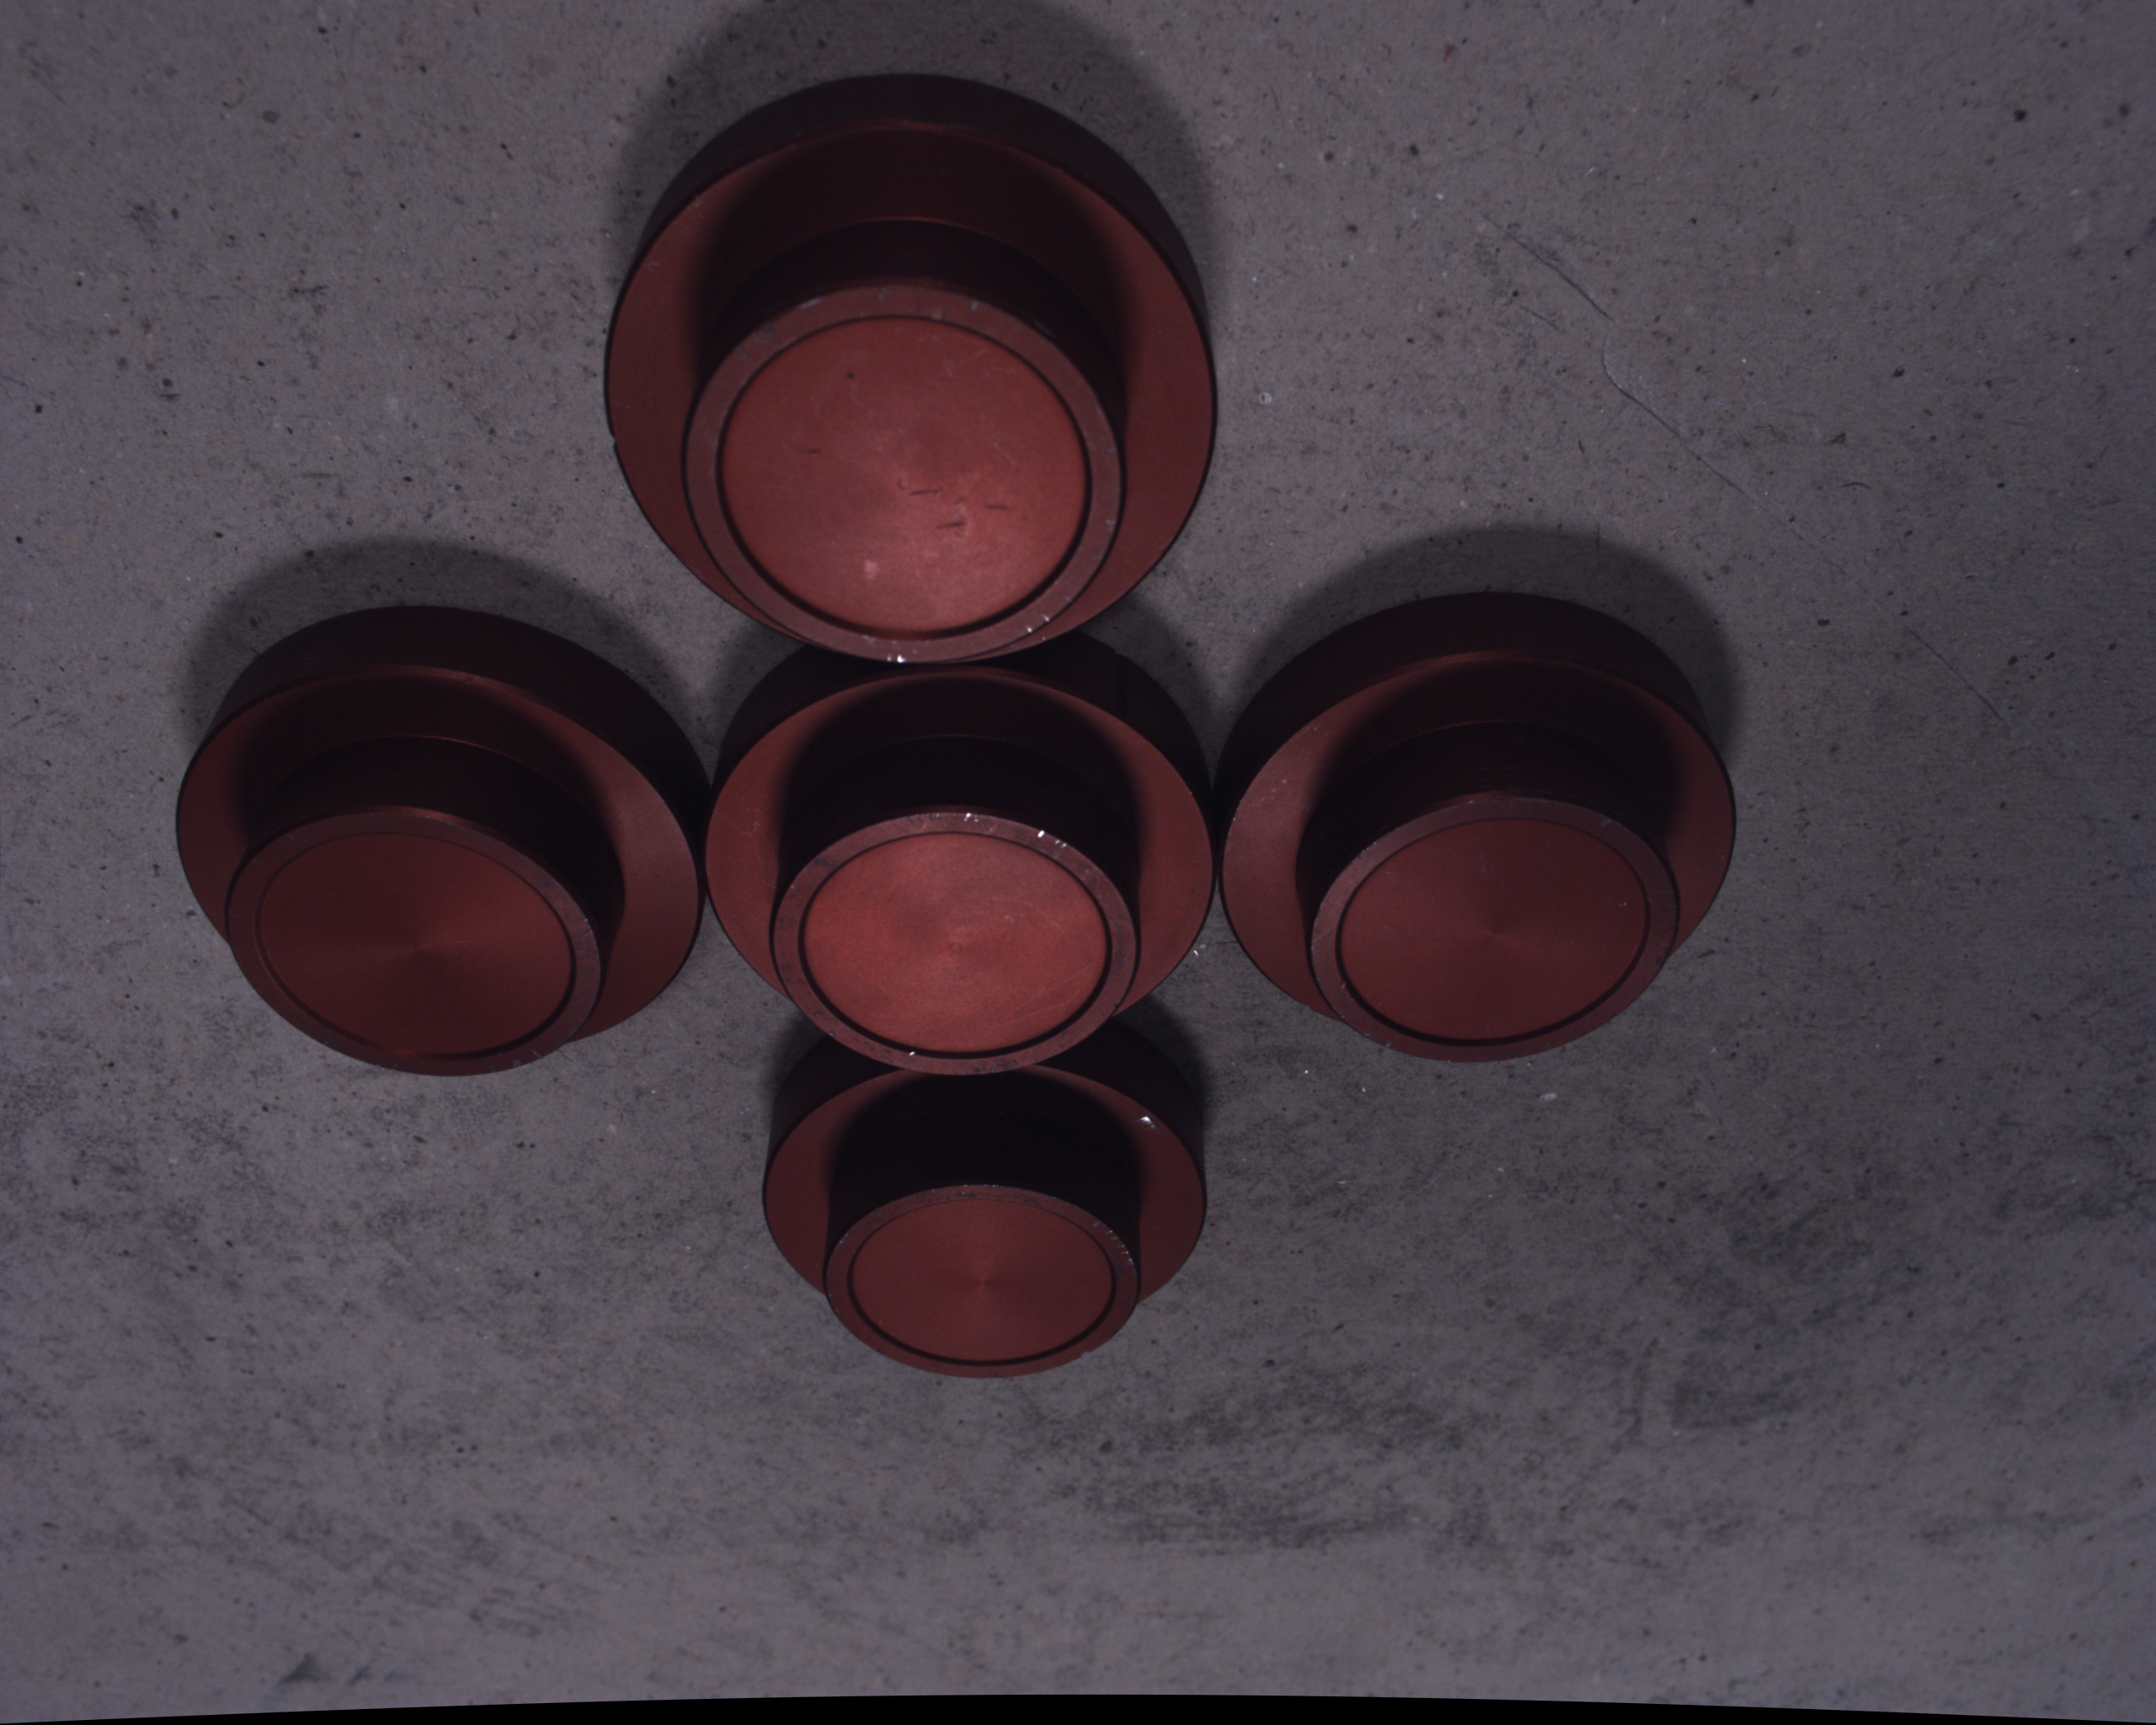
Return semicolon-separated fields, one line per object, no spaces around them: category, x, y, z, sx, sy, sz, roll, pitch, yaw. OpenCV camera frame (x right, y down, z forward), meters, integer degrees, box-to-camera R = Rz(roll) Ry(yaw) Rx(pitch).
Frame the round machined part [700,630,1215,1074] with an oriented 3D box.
round machined part;-0.023;0.003;0.400;0.099;0.042;0.097;-1;130;0

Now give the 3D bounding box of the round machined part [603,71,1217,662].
round machined part;-0.027;-0.072;0.336;0.099;0.042;0.097;-1;130;0

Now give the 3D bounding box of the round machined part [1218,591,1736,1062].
round machined part;0.076;0.000;0.399;0.099;0.042;0.097;-1;130;0

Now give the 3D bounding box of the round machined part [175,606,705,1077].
round machined part;-0.122;0.003;0.398;0.099;0.042;0.097;-1;130;0

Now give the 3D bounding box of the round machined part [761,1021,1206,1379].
round machined part;-0.021;0.078;0.463;0.099;0.042;0.097;-1;130;0
